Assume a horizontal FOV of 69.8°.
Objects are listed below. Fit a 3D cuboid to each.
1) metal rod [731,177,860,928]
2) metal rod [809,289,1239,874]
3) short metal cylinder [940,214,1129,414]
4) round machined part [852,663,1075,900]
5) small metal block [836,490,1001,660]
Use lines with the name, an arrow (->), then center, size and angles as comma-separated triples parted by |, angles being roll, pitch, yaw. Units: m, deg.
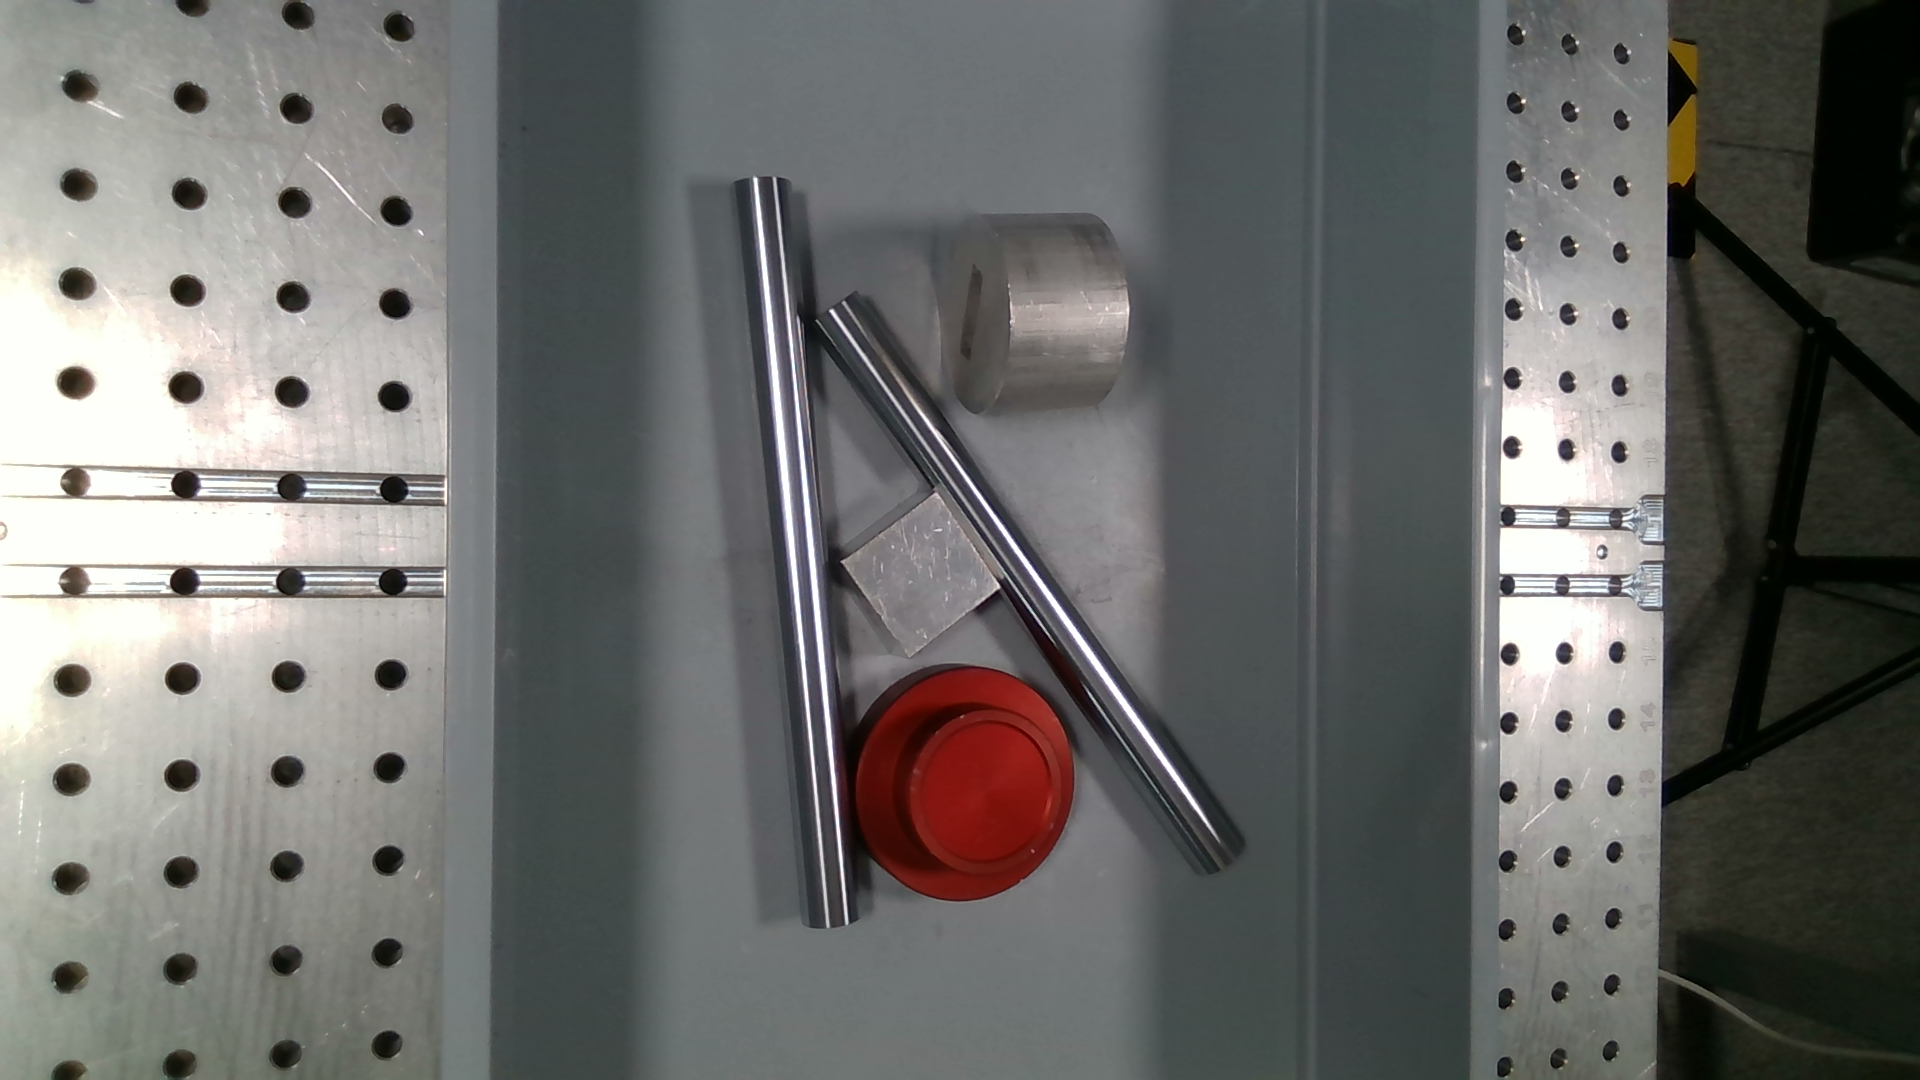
metal rod -> -0.067, 0.006, 0.560 | 0.025, 0.025, 0.300 | -6, 92, -20
metal rod -> 0.032, 0.024, 0.597 | 0.025, 0.025, 0.300 | -39, 103, -16
short metal cylinder -> 0.029, -0.093, 0.566 | 0.050, 0.080, 0.080 | -5, 92, -20
round machined part -> 0.004, 0.102, 0.576 | 0.098, 0.042, 0.098 | 0, 90, -20
small metal block -> -0.020, 0.014, 0.577 | 0.050, 0.025, 0.050 | -38, 102, -16
